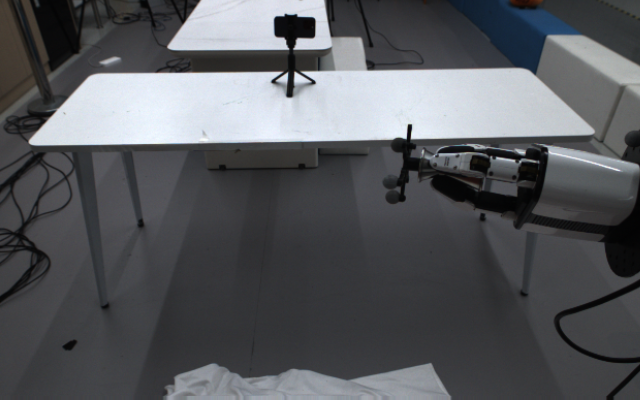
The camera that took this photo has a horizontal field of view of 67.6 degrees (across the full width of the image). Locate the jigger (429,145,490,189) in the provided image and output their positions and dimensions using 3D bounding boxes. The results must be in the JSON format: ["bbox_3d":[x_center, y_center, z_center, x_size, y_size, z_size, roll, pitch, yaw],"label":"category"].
[{"bbox_3d":[0.152,-0.039,0.536,0.071,0.043,0.043,8,35,15],"label":"jigger"}]
